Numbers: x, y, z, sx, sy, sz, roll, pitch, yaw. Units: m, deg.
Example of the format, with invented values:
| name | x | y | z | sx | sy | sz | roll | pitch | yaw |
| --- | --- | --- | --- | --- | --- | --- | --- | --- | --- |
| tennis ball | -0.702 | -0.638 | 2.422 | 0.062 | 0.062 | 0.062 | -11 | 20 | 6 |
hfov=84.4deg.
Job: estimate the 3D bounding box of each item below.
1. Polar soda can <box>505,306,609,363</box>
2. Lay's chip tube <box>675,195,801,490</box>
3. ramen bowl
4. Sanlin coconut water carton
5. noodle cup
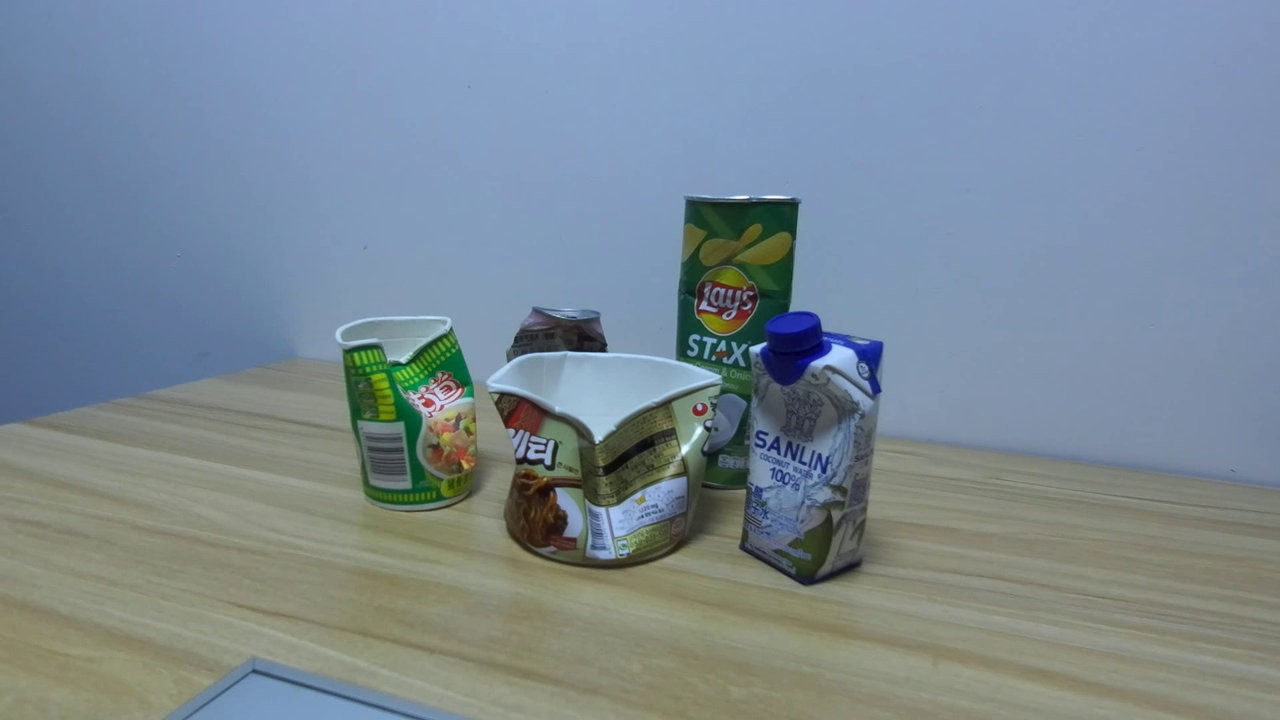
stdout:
| name | x | y | z | sx | sy | sz | roll | pitch | yaw |
| --- | --- | --- | --- | --- | --- | --- | --- | --- | --- |
| Polar soda can | -0.057 | 0.015 | 0.549 | 0.070 | 0.114 | 0.074 | 11 | 12 | 35 |
| Lay's chip tube | 0.064 | -0.015 | 0.504 | 0.075 | 0.199 | 0.069 | 2 | 14 | 0 |
| ramen bowl | -0.020 | 0.051 | 0.425 | 0.137 | 0.098 | 0.137 | 4 | 11 | 0 |
| Sanlin coconut water carton | 0.091 | 0.044 | 0.382 | 0.058 | 0.142 | 0.077 | -12 | 18 | -35 |
| noodle cup | -0.144 | 0.031 | 0.455 | 0.083 | 0.122 | 0.075 | -17 | 13 | -33 |
